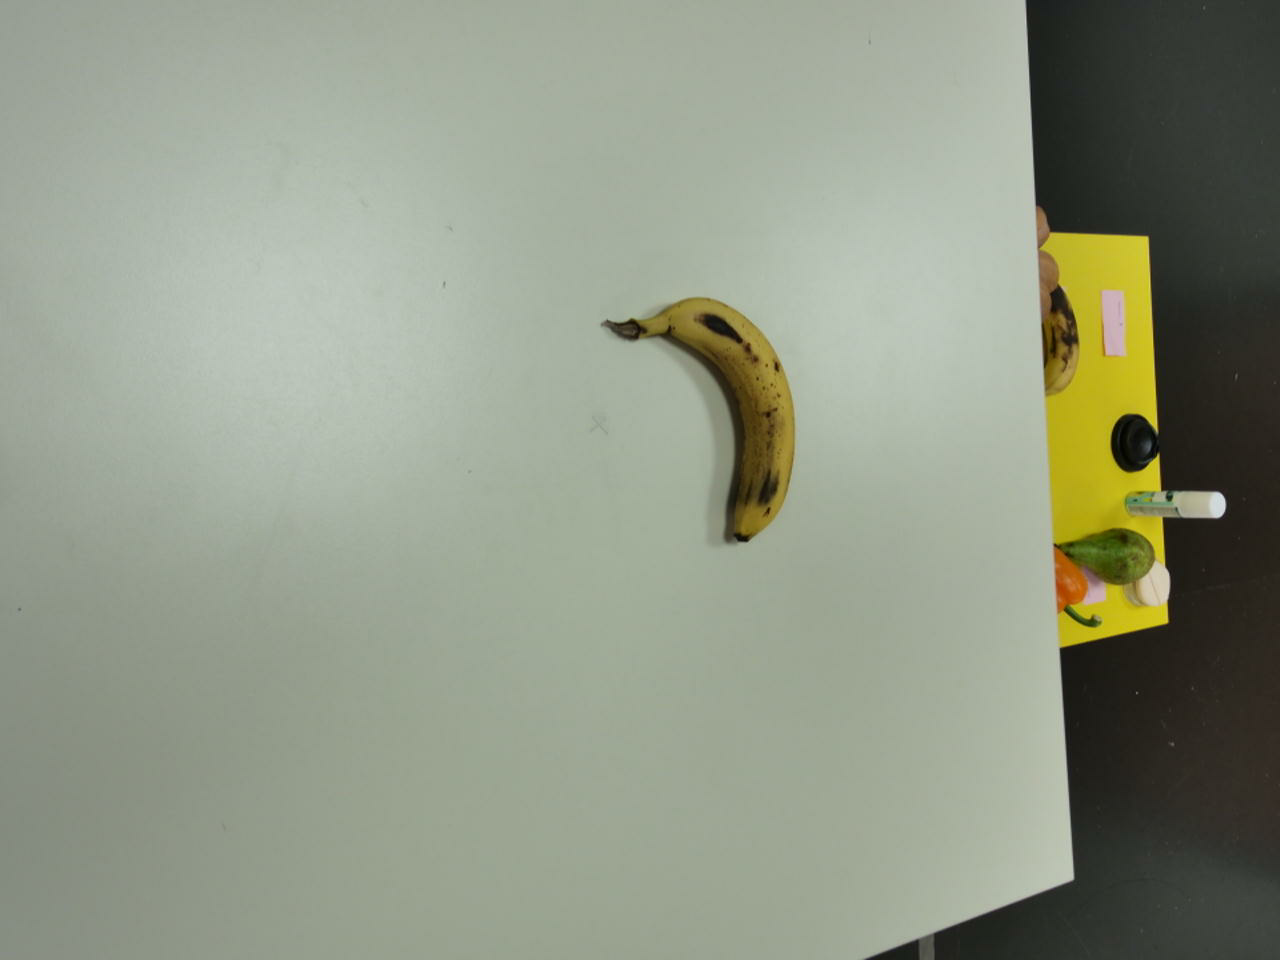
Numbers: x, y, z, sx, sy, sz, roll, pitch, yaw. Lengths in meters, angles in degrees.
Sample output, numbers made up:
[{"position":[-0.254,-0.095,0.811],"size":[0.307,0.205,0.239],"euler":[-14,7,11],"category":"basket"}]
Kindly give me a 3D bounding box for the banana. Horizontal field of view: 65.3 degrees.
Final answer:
[{"position":[0.066,-0.055,0.731],"size":[0.097,0.038,0.186],"euler":[-35,106,-23],"category":"banana"}]
